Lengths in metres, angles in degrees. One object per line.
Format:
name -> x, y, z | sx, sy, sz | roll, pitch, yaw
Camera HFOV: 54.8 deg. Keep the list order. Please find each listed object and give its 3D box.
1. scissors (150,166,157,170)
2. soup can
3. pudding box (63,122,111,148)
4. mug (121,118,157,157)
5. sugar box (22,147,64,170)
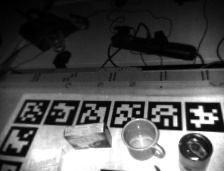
scissors -> 0.156, 0.262, 0.489 | 0.088, 0.016, 0.200 | -38, 53, -6
soup can -> 0.186, 0.167, 0.516 | 0.067, 0.103, 0.067 | -7, 48, 9
pudding box -> -0.065, 0.135, 0.596 | 0.113, 0.091, 0.038 | -8, 56, 7
mug -> 0.081, 0.138, 0.568 | 0.093, 0.082, 0.116 | -30, 49, -8
sugar box -> -0.195, 0.253, 0.568 | 0.092, 0.046, 0.176 | -3, 52, 13
